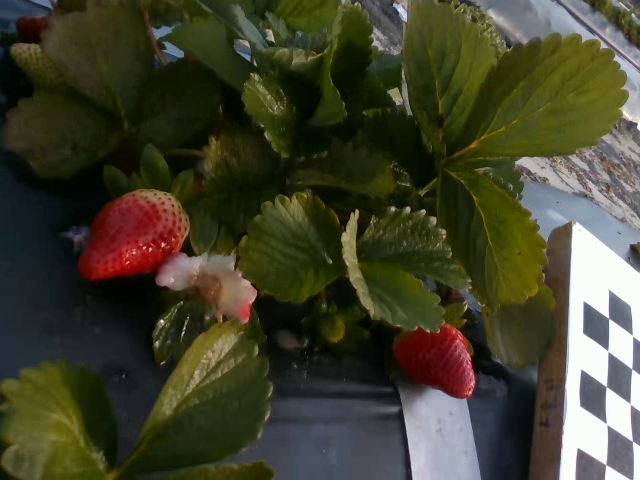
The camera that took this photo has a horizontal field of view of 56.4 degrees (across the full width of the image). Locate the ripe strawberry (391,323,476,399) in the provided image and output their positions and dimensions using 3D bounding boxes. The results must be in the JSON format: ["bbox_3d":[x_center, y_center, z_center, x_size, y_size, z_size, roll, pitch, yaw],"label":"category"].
[{"bbox_3d":[0.062,0.060,0.283,0.050,0.055,0.035,33,-56,-27],"label":"ripe strawberry"}]
